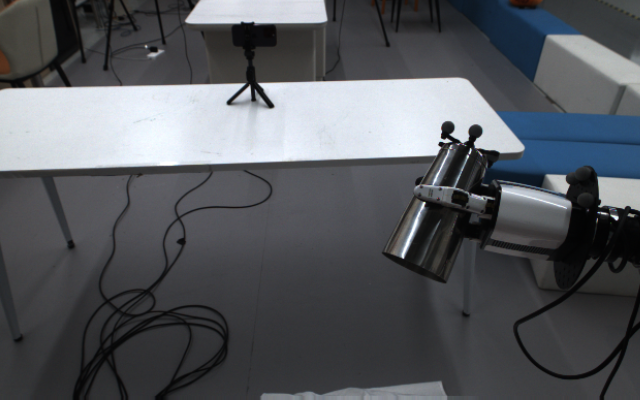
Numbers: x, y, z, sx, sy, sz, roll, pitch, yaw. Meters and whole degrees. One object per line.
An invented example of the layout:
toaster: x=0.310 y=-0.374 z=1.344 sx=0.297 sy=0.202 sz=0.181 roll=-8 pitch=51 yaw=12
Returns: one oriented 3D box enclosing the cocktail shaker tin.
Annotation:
cocktail shaker tin: x=0.162 y=0.010 z=0.644 sx=0.093 sy=0.093 sz=0.170 roll=21 pitch=81 yaw=26
